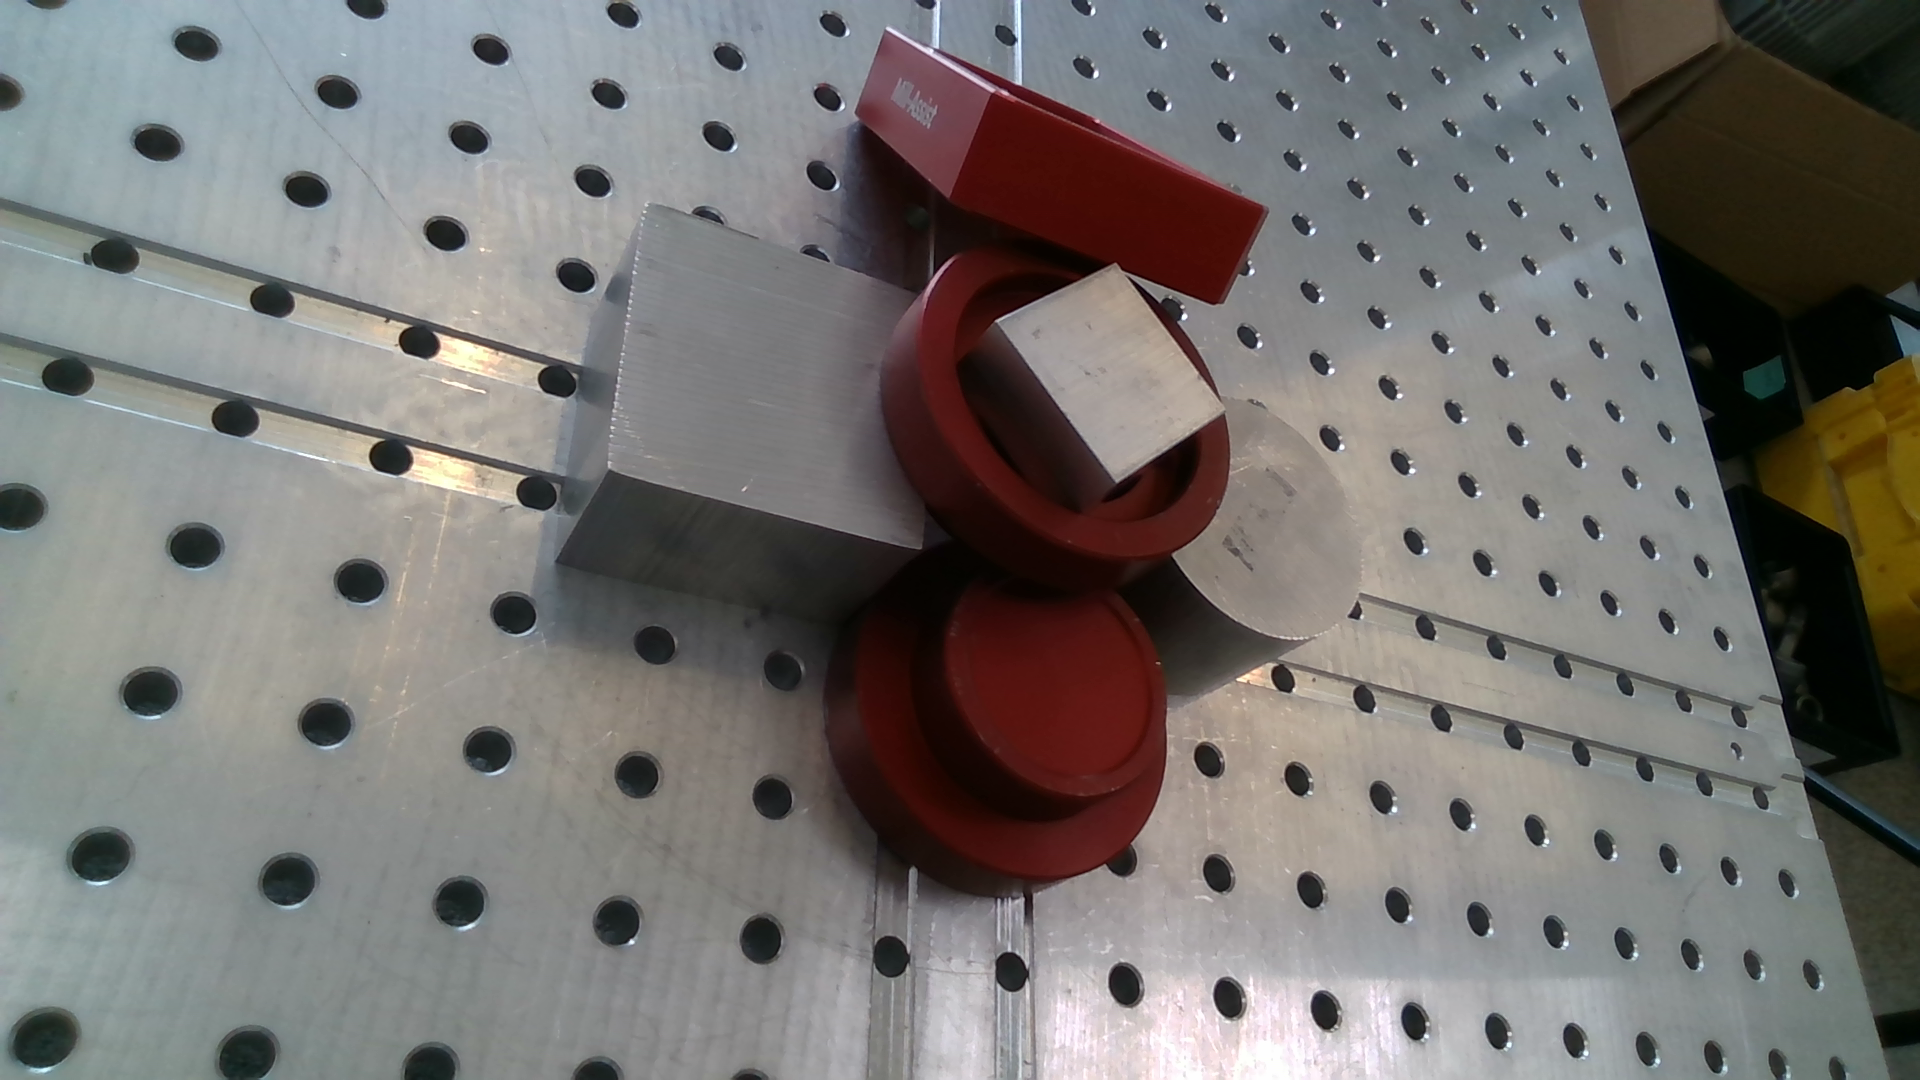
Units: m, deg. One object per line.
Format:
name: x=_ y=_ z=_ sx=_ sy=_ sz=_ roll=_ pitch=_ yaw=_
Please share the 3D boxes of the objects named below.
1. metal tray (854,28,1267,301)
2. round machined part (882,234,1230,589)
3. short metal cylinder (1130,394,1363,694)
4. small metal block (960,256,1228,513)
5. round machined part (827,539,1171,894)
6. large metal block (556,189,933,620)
metal tray: x=0.026 y=-0.119 z=0.426 sx=0.090 sy=0.030 sz=0.130 roll=15 pitch=21 yaw=-24
round machined part: x=0.022 y=-0.031 z=0.378 sx=0.098 sy=0.042 sz=0.098 roll=14 pitch=59 yaw=-25
short metal cylinder: x=0.076 y=0.002 z=0.425 sx=0.080 sy=0.050 sz=0.080 roll=14 pitch=59 yaw=-25
small metal block: x=0.034 y=-0.040 z=0.359 sx=0.050 sy=0.025 sz=0.050 roll=-33 pitch=85 yaw=-39
round machined part: x=0.017 y=0.042 z=0.372 sx=0.098 sy=0.042 sz=0.098 roll=14 pitch=59 yaw=-25
large metal block: x=-0.054 y=-0.033 z=0.361 sx=0.080 sy=0.050 sz=0.080 roll=15 pitch=58 yaw=-25
